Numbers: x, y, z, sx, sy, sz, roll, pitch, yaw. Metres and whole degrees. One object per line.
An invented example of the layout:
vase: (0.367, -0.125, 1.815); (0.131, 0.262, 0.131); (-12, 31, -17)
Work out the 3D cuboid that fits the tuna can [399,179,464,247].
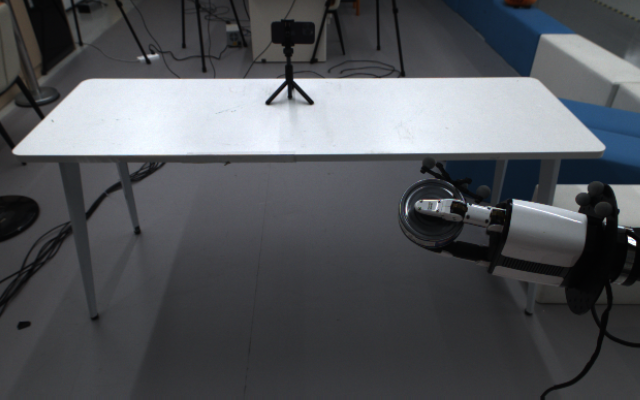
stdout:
tuna can: (0.146, 0.014, 0.622); (0.085, 0.034, 0.085); (-4, 69, 10)
